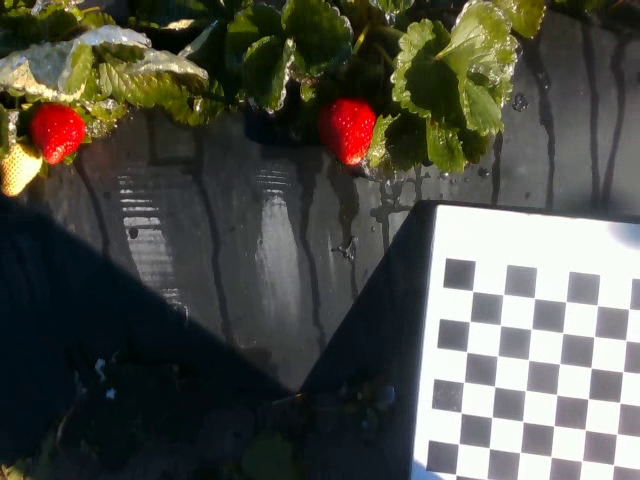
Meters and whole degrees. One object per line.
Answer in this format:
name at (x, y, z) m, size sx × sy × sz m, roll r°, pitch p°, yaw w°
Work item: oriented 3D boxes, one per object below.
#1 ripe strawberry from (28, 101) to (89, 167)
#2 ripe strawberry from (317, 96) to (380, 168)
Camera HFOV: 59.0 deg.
ripe strawberry at (-0.178, -0.067, 0.371) m, size 0.037 × 0.040 × 0.051 m, roll -8°, pitch 39°, yaw 6°
ripe strawberry at (0.018, -0.066, 0.350) m, size 0.041 × 0.053 × 0.047 m, roll 0°, pitch -41°, yaw 6°
